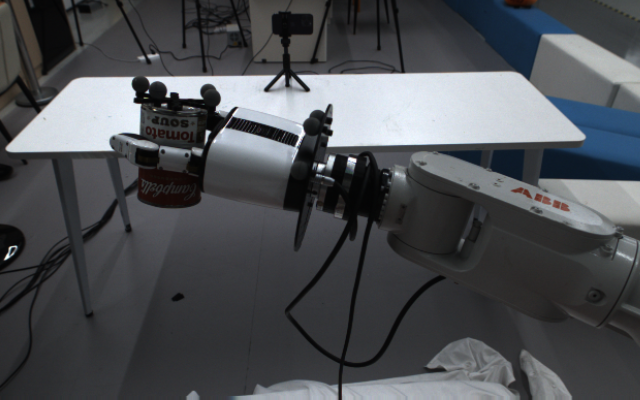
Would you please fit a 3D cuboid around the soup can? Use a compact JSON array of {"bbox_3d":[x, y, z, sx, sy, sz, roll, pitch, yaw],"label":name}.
[{"bbox_3d":[-0.156,-0.049,0.515,0.067,0.101,0.067,8,19,-3],"label":"soup can"}]
